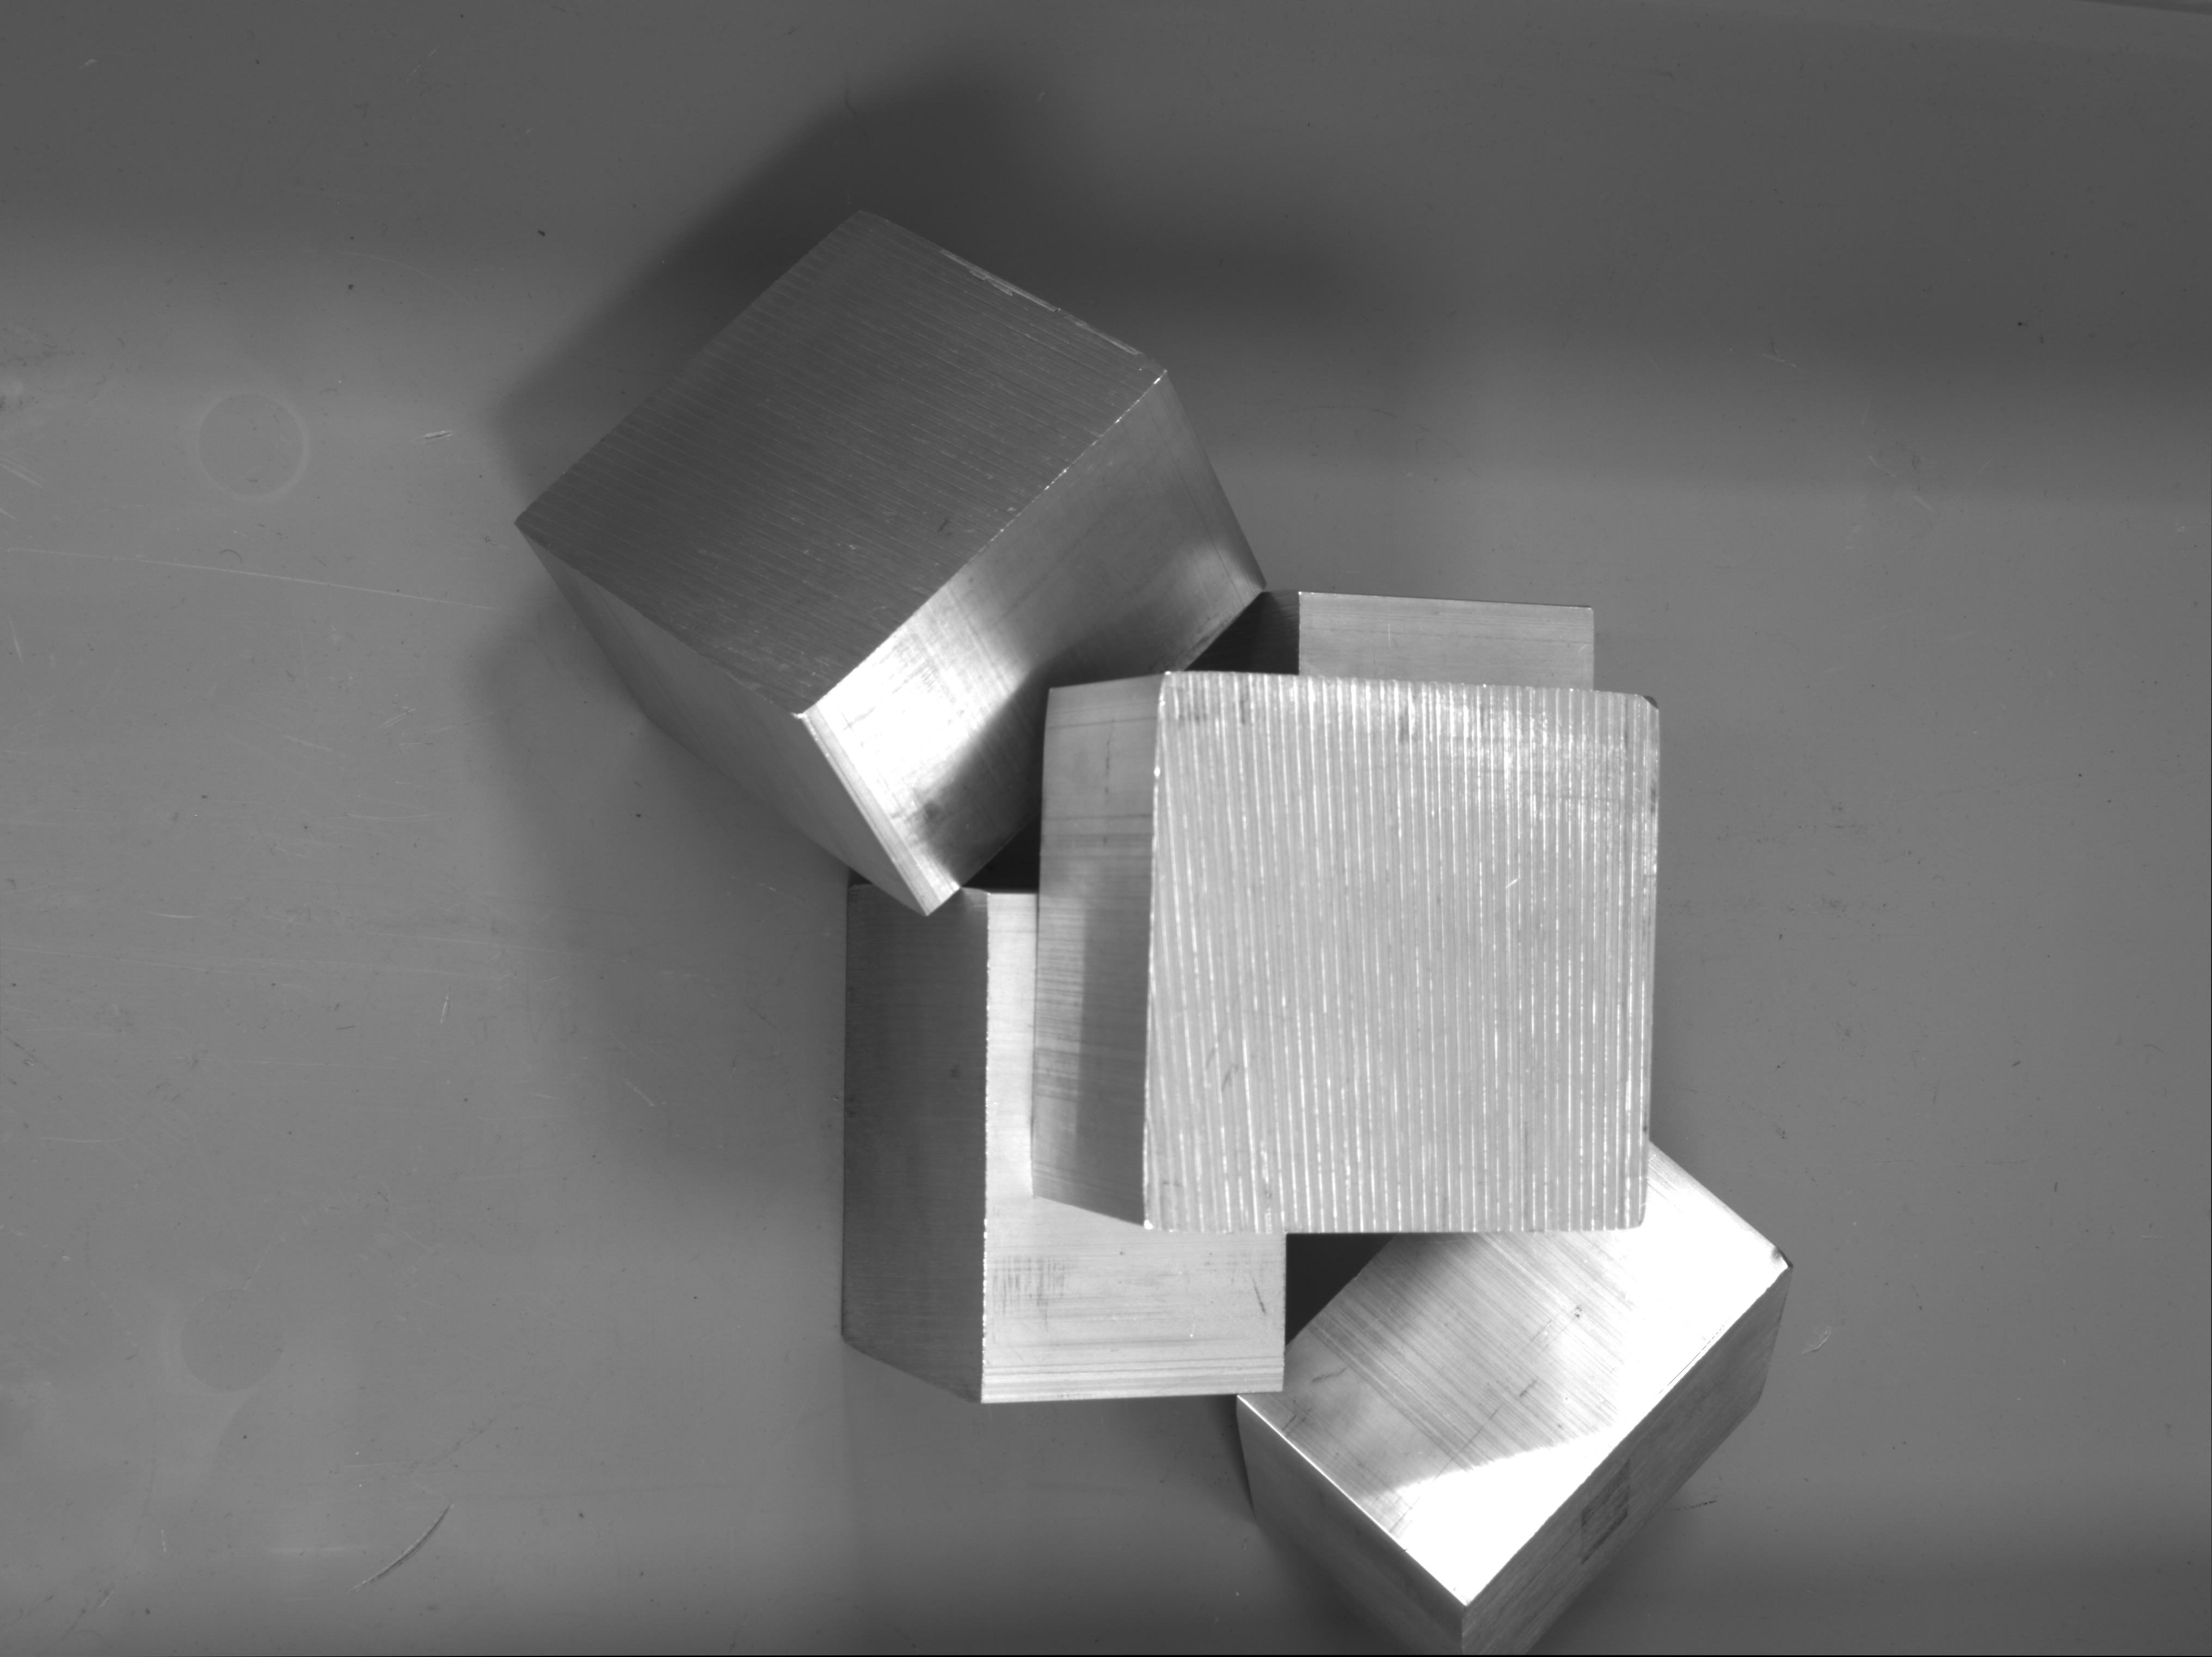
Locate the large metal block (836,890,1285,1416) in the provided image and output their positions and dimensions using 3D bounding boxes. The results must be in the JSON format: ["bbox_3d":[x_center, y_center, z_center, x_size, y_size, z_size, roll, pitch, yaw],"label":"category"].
[{"bbox_3d":[-0.009,0.051,0.609,0.050,0.080,0.080,1,89,-20],"label":"large metal block"}]

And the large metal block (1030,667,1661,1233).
[{"bbox_3d":[0.036,0.019,0.556,0.080,0.050,0.080,2,89,-20],"label":"large metal block"}]

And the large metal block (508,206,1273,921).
[{"bbox_3d":[-0.035,-0.044,0.592,0.080,0.080,0.050,-45,139,-15],"label":"large metal block"}]

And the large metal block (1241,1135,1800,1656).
[{"bbox_3d":[0.070,0.098,0.630,0.080,0.080,0.050,-43,68,-15],"label":"large metal block"}]

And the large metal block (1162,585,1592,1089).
[{"bbox_3d":[0.041,0.002,0.626,0.050,0.080,0.080,1,89,-20],"label":"large metal block"}]
